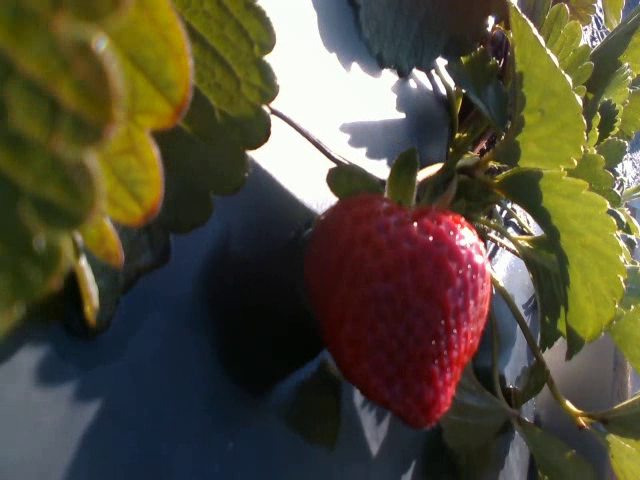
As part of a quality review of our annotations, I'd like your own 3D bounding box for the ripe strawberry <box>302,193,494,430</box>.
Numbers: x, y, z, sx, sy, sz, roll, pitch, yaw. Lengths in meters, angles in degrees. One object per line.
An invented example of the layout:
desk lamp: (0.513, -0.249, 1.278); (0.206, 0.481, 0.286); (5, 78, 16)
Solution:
ripe strawberry: (0.014, 0.012, 0.121); (0.044, 0.056, 0.042); (6, -38, -4)
